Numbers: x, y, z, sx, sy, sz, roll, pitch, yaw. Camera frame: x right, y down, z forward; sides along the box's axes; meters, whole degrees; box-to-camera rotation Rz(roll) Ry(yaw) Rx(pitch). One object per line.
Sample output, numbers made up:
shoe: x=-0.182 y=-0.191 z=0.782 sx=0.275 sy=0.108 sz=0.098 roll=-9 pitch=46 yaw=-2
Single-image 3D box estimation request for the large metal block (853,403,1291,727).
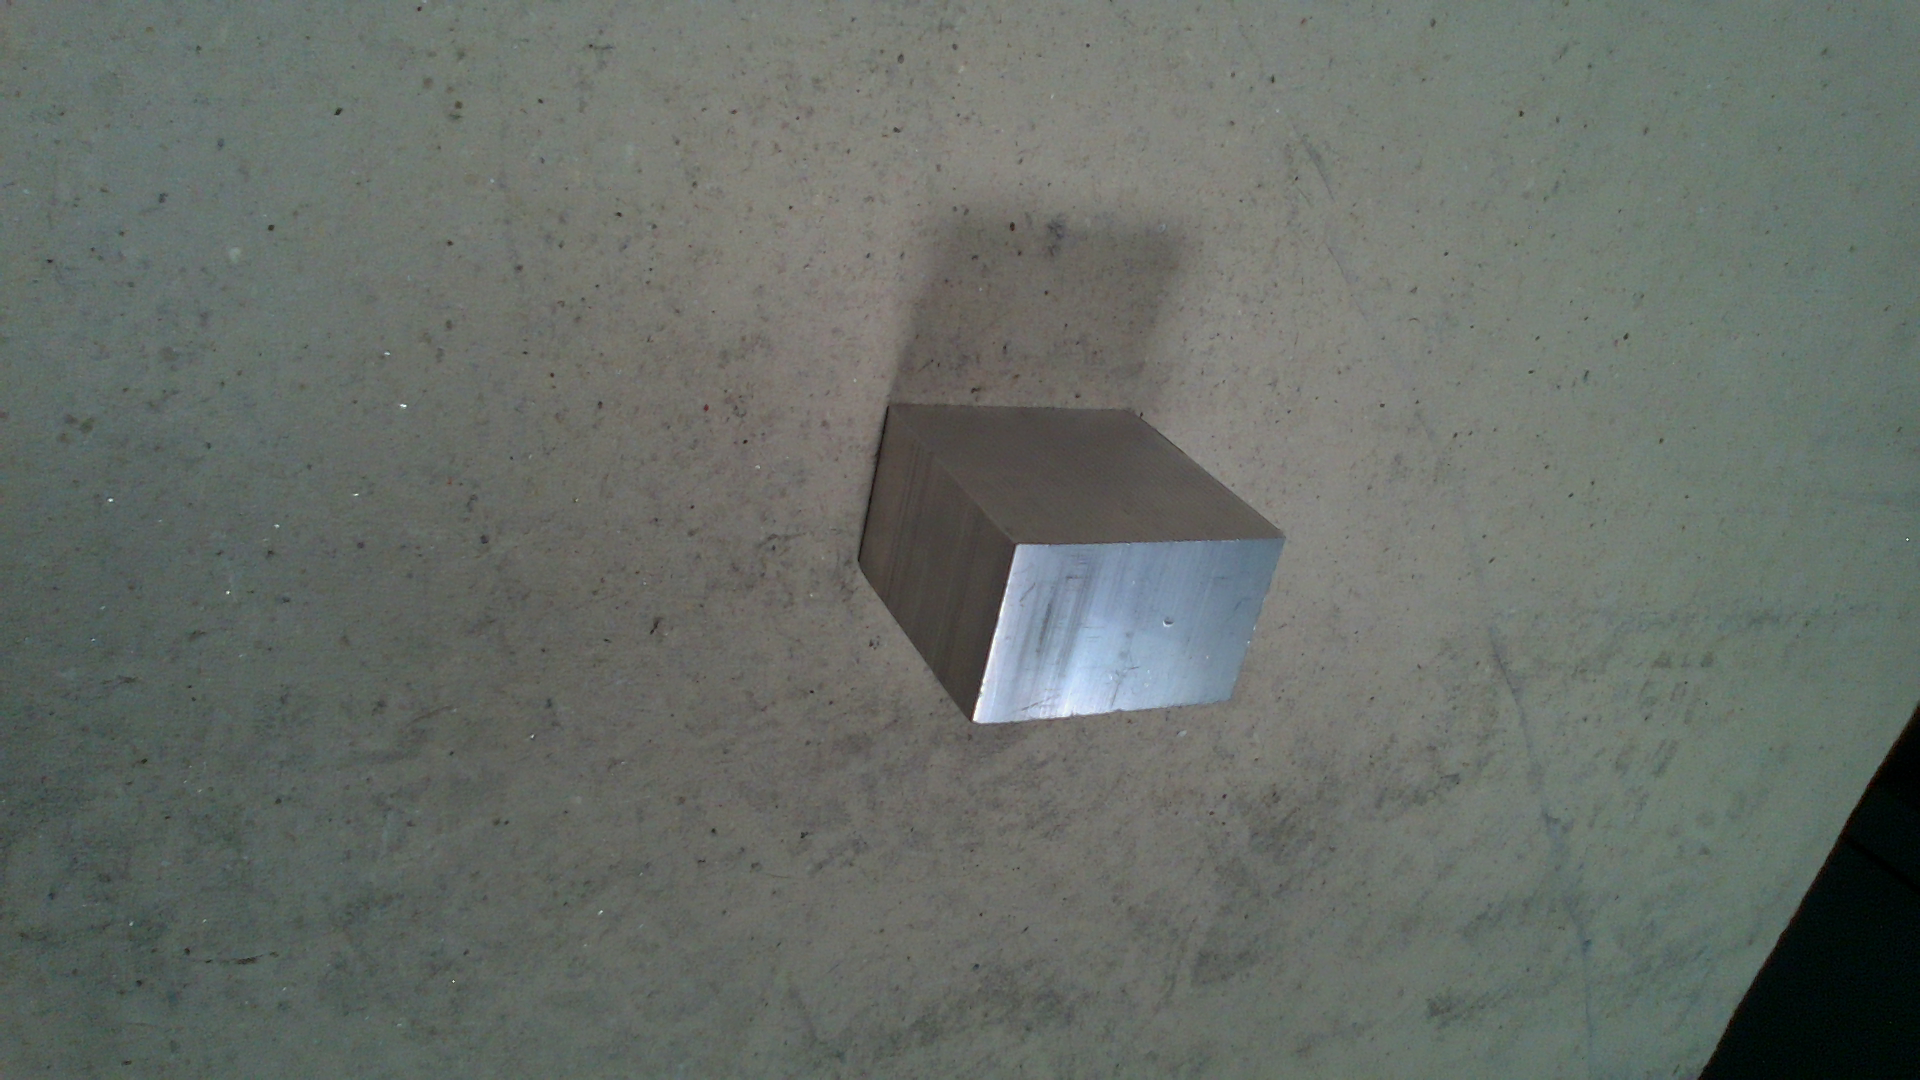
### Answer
large metal block: x=0.027 y=0.003 z=0.370 sx=0.080 sy=0.080 sz=0.050 roll=-1 pitch=119 yaw=-28
